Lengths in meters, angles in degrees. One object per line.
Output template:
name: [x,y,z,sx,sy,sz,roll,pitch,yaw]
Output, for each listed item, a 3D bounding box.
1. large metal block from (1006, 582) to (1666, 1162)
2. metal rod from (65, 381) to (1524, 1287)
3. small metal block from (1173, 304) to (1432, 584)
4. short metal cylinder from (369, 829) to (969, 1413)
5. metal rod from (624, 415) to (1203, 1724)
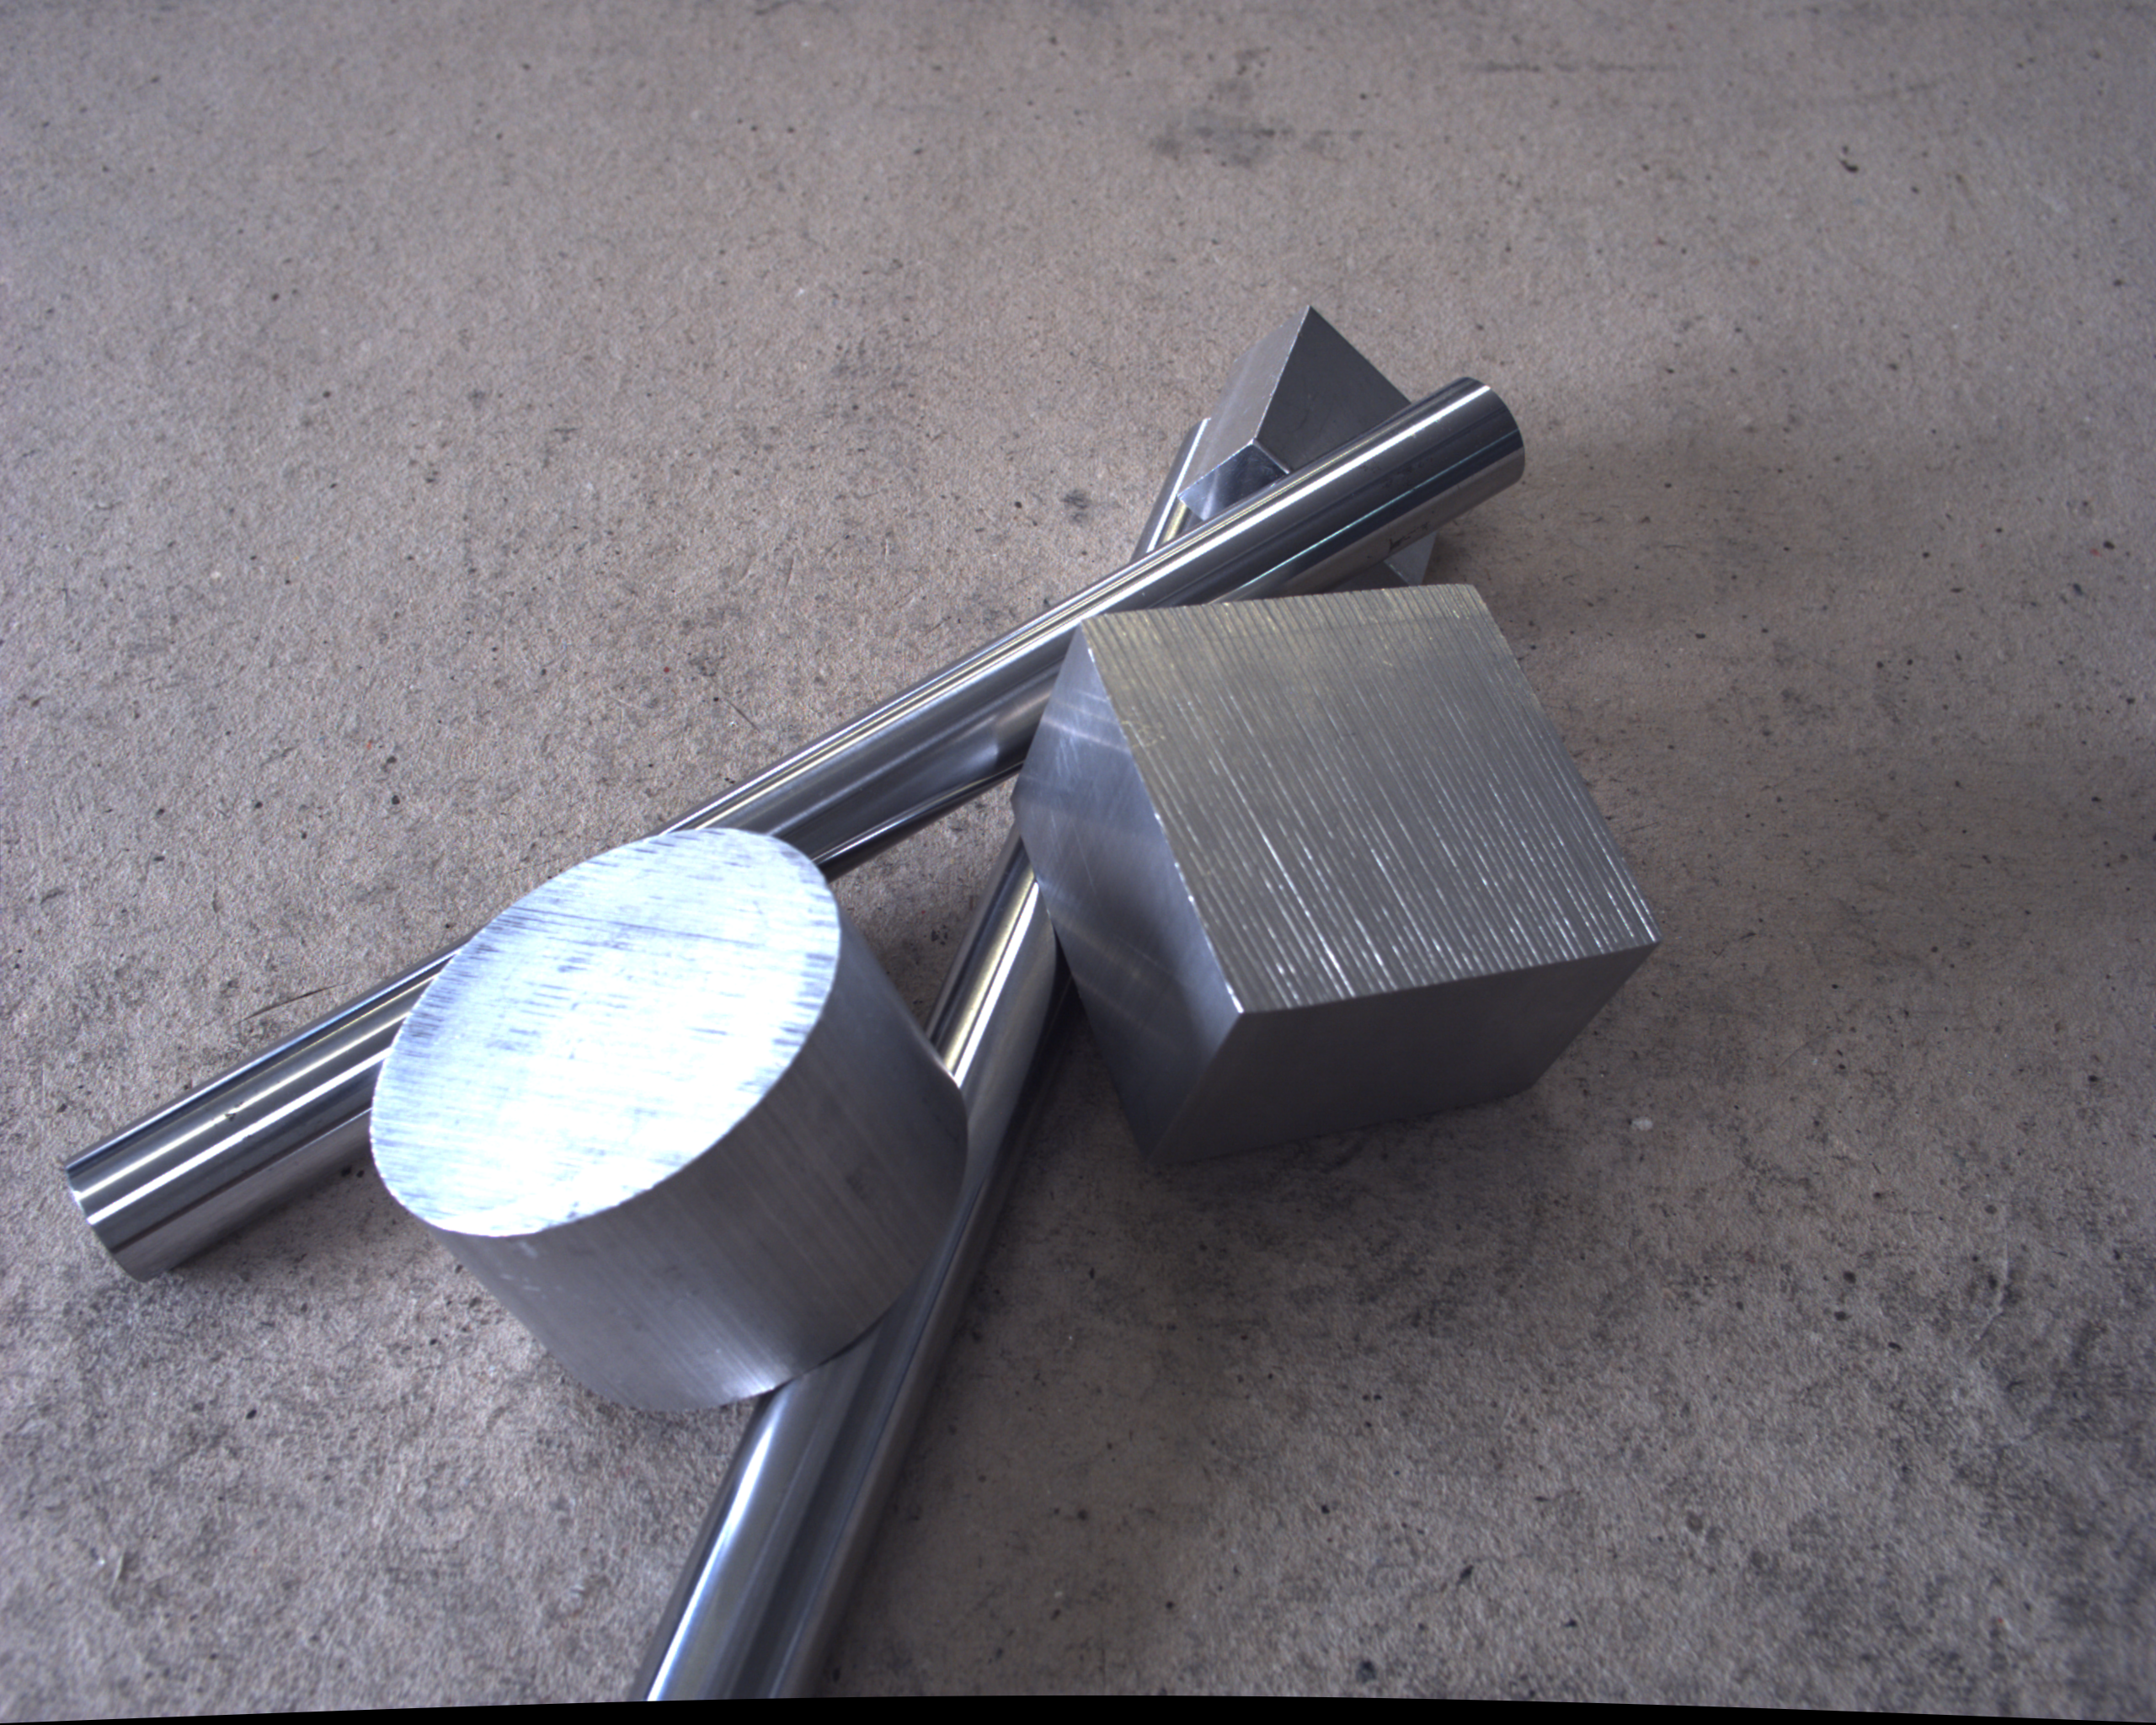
large metal block: [0.042,0.000,0.370,0.081,0.050,0.080,-8,59,-23]
metal rod: [-0.040,-0.014,0.393,0.302,0.025,0.025,-31,57,-16]
small metal block: [0.054,-0.086,0.461,0.050,0.025,0.050,38,49,-20]
short metal cylinder: [-0.064,0.041,0.337,0.080,0.050,0.080,-15,41,14]
metal rod: [-0.009,0.015,0.391,0.025,0.025,0.300,14,51,11]
